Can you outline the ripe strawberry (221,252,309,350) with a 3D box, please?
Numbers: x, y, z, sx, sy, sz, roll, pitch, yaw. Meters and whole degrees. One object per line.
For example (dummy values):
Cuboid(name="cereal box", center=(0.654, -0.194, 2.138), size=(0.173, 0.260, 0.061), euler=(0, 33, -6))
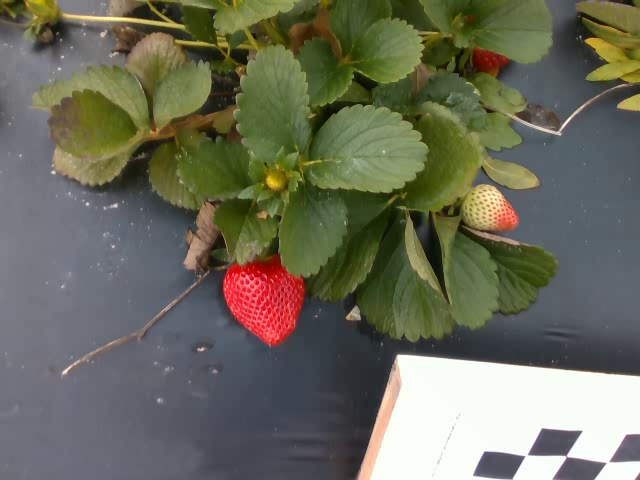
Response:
Cuboid(name="ripe strawberry", center=(-0.026, 0.027, 0.271), size=(0.037, 0.046, 0.036), euler=(-29, -21, 24))
